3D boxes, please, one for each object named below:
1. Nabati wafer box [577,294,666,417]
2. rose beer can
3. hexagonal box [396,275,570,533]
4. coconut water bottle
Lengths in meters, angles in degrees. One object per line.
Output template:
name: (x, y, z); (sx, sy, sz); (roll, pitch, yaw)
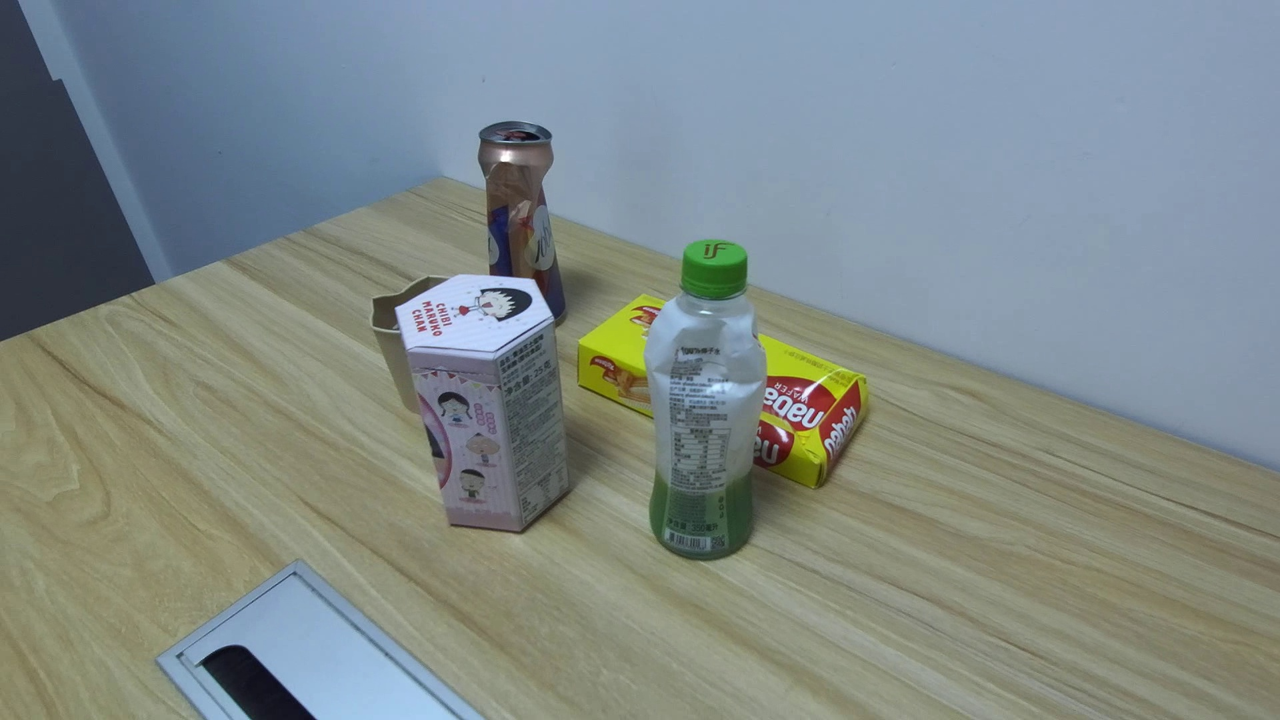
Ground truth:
Nabati wafer box: (0.059, 0.013, 0.529); (0.202, 0.042, 0.097); (23, 41, 27)
rose beer can: (-0.095, -0.106, 0.585); (0.065, 0.167, 0.076); (9, 33, 10)
hexagonal box: (-0.091, 0.028, 0.426); (0.084, 0.136, 0.091); (-14, 38, -18)
coconut water bottle: (0.037, 0.025, 0.385); (0.067, 0.187, 0.067); (-1, 35, 1)
